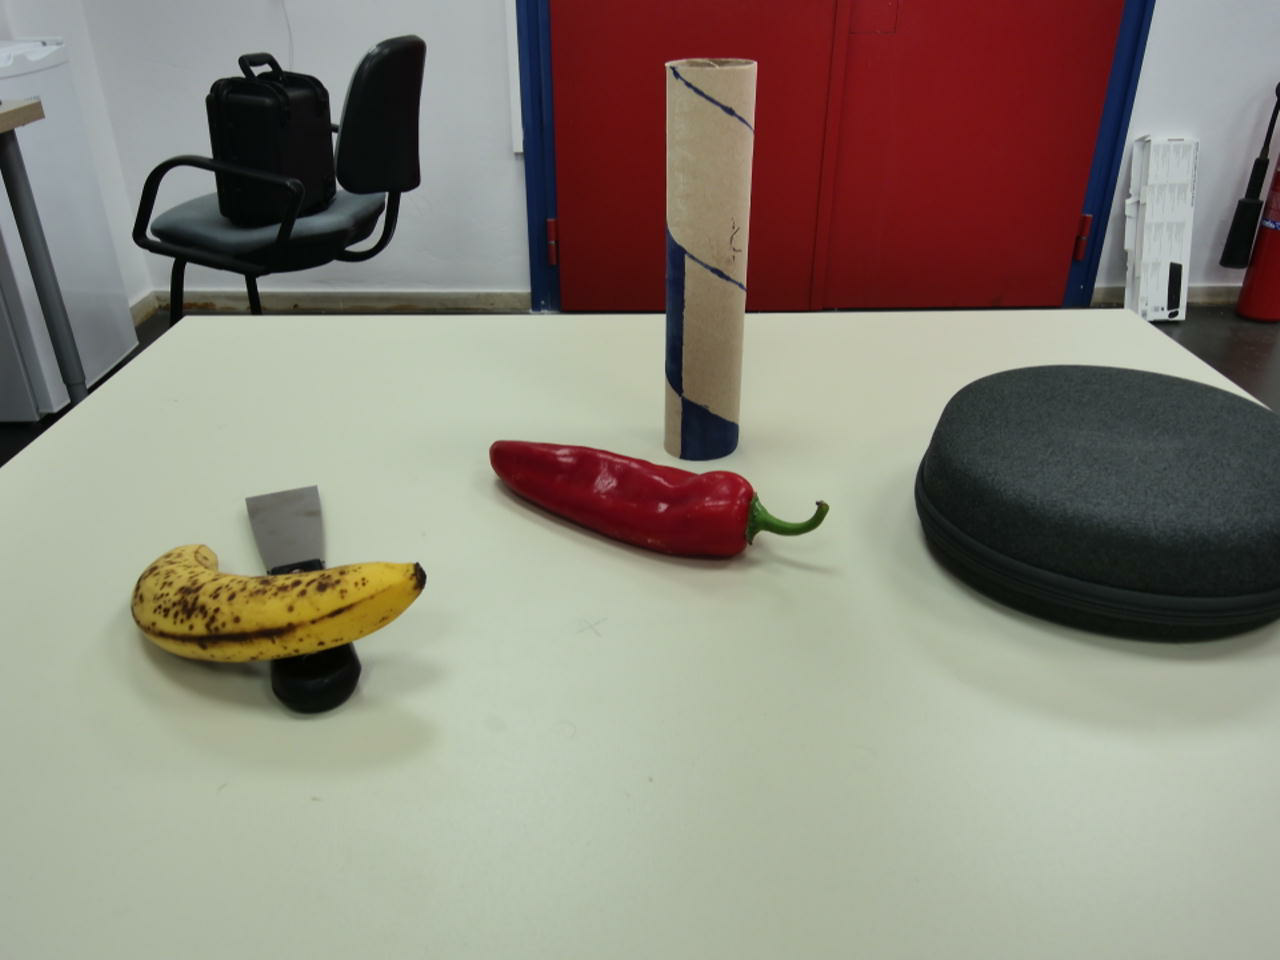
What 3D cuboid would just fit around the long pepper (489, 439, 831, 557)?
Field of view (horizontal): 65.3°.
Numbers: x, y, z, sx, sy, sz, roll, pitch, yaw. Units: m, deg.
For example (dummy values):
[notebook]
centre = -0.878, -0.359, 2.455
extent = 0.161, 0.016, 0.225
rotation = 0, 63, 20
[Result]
[long pepper]
centre = -0.003, 0.007, 0.534
extent = 0.211, 0.043, 0.050
rotation = 15, 30, 28
